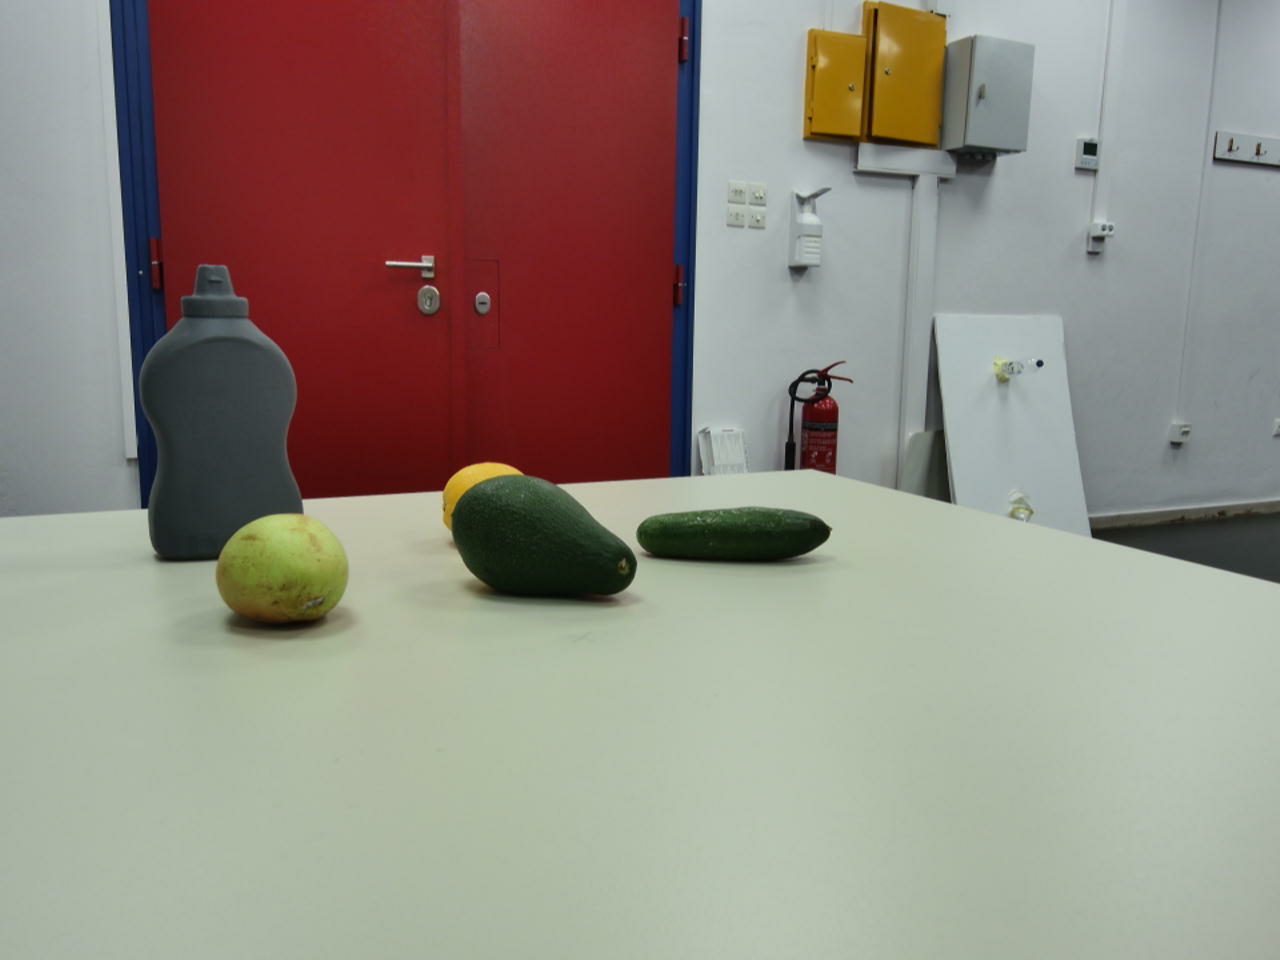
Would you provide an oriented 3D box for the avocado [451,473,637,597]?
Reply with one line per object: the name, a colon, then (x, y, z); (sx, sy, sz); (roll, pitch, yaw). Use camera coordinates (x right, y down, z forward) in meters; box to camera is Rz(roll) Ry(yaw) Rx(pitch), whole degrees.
avocado: (-0.060, 0.033, 0.587); (0.110, 0.071, 0.072); (7, 10, 42)
